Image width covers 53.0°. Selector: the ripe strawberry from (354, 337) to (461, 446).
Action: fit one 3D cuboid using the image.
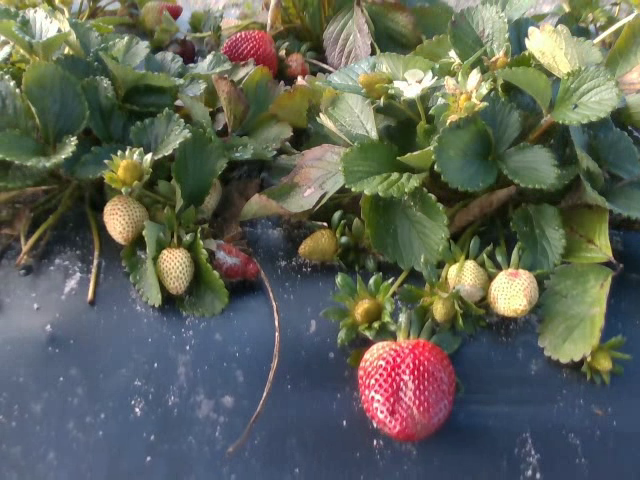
[{"bbox_3d":[0.044,0.079,0.332,0.052,0.045,0.068,6,28,1],"label":"ripe strawberry"}]
